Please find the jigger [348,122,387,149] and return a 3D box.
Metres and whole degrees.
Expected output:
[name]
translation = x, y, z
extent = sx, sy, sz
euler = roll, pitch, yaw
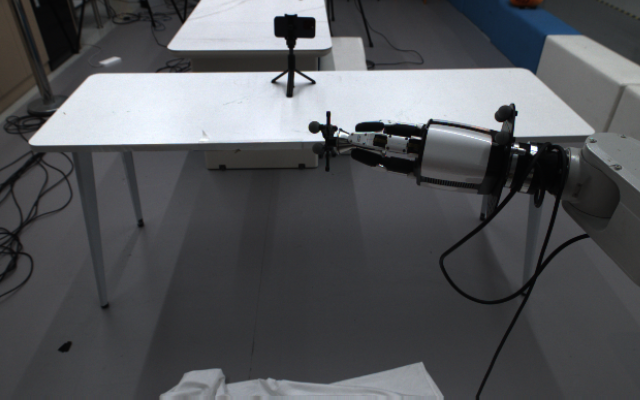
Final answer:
[jigger]
translation = 0.068, -0.089, 0.709
extent = 0.071, 0.043, 0.043
euler = 2, 34, 16
